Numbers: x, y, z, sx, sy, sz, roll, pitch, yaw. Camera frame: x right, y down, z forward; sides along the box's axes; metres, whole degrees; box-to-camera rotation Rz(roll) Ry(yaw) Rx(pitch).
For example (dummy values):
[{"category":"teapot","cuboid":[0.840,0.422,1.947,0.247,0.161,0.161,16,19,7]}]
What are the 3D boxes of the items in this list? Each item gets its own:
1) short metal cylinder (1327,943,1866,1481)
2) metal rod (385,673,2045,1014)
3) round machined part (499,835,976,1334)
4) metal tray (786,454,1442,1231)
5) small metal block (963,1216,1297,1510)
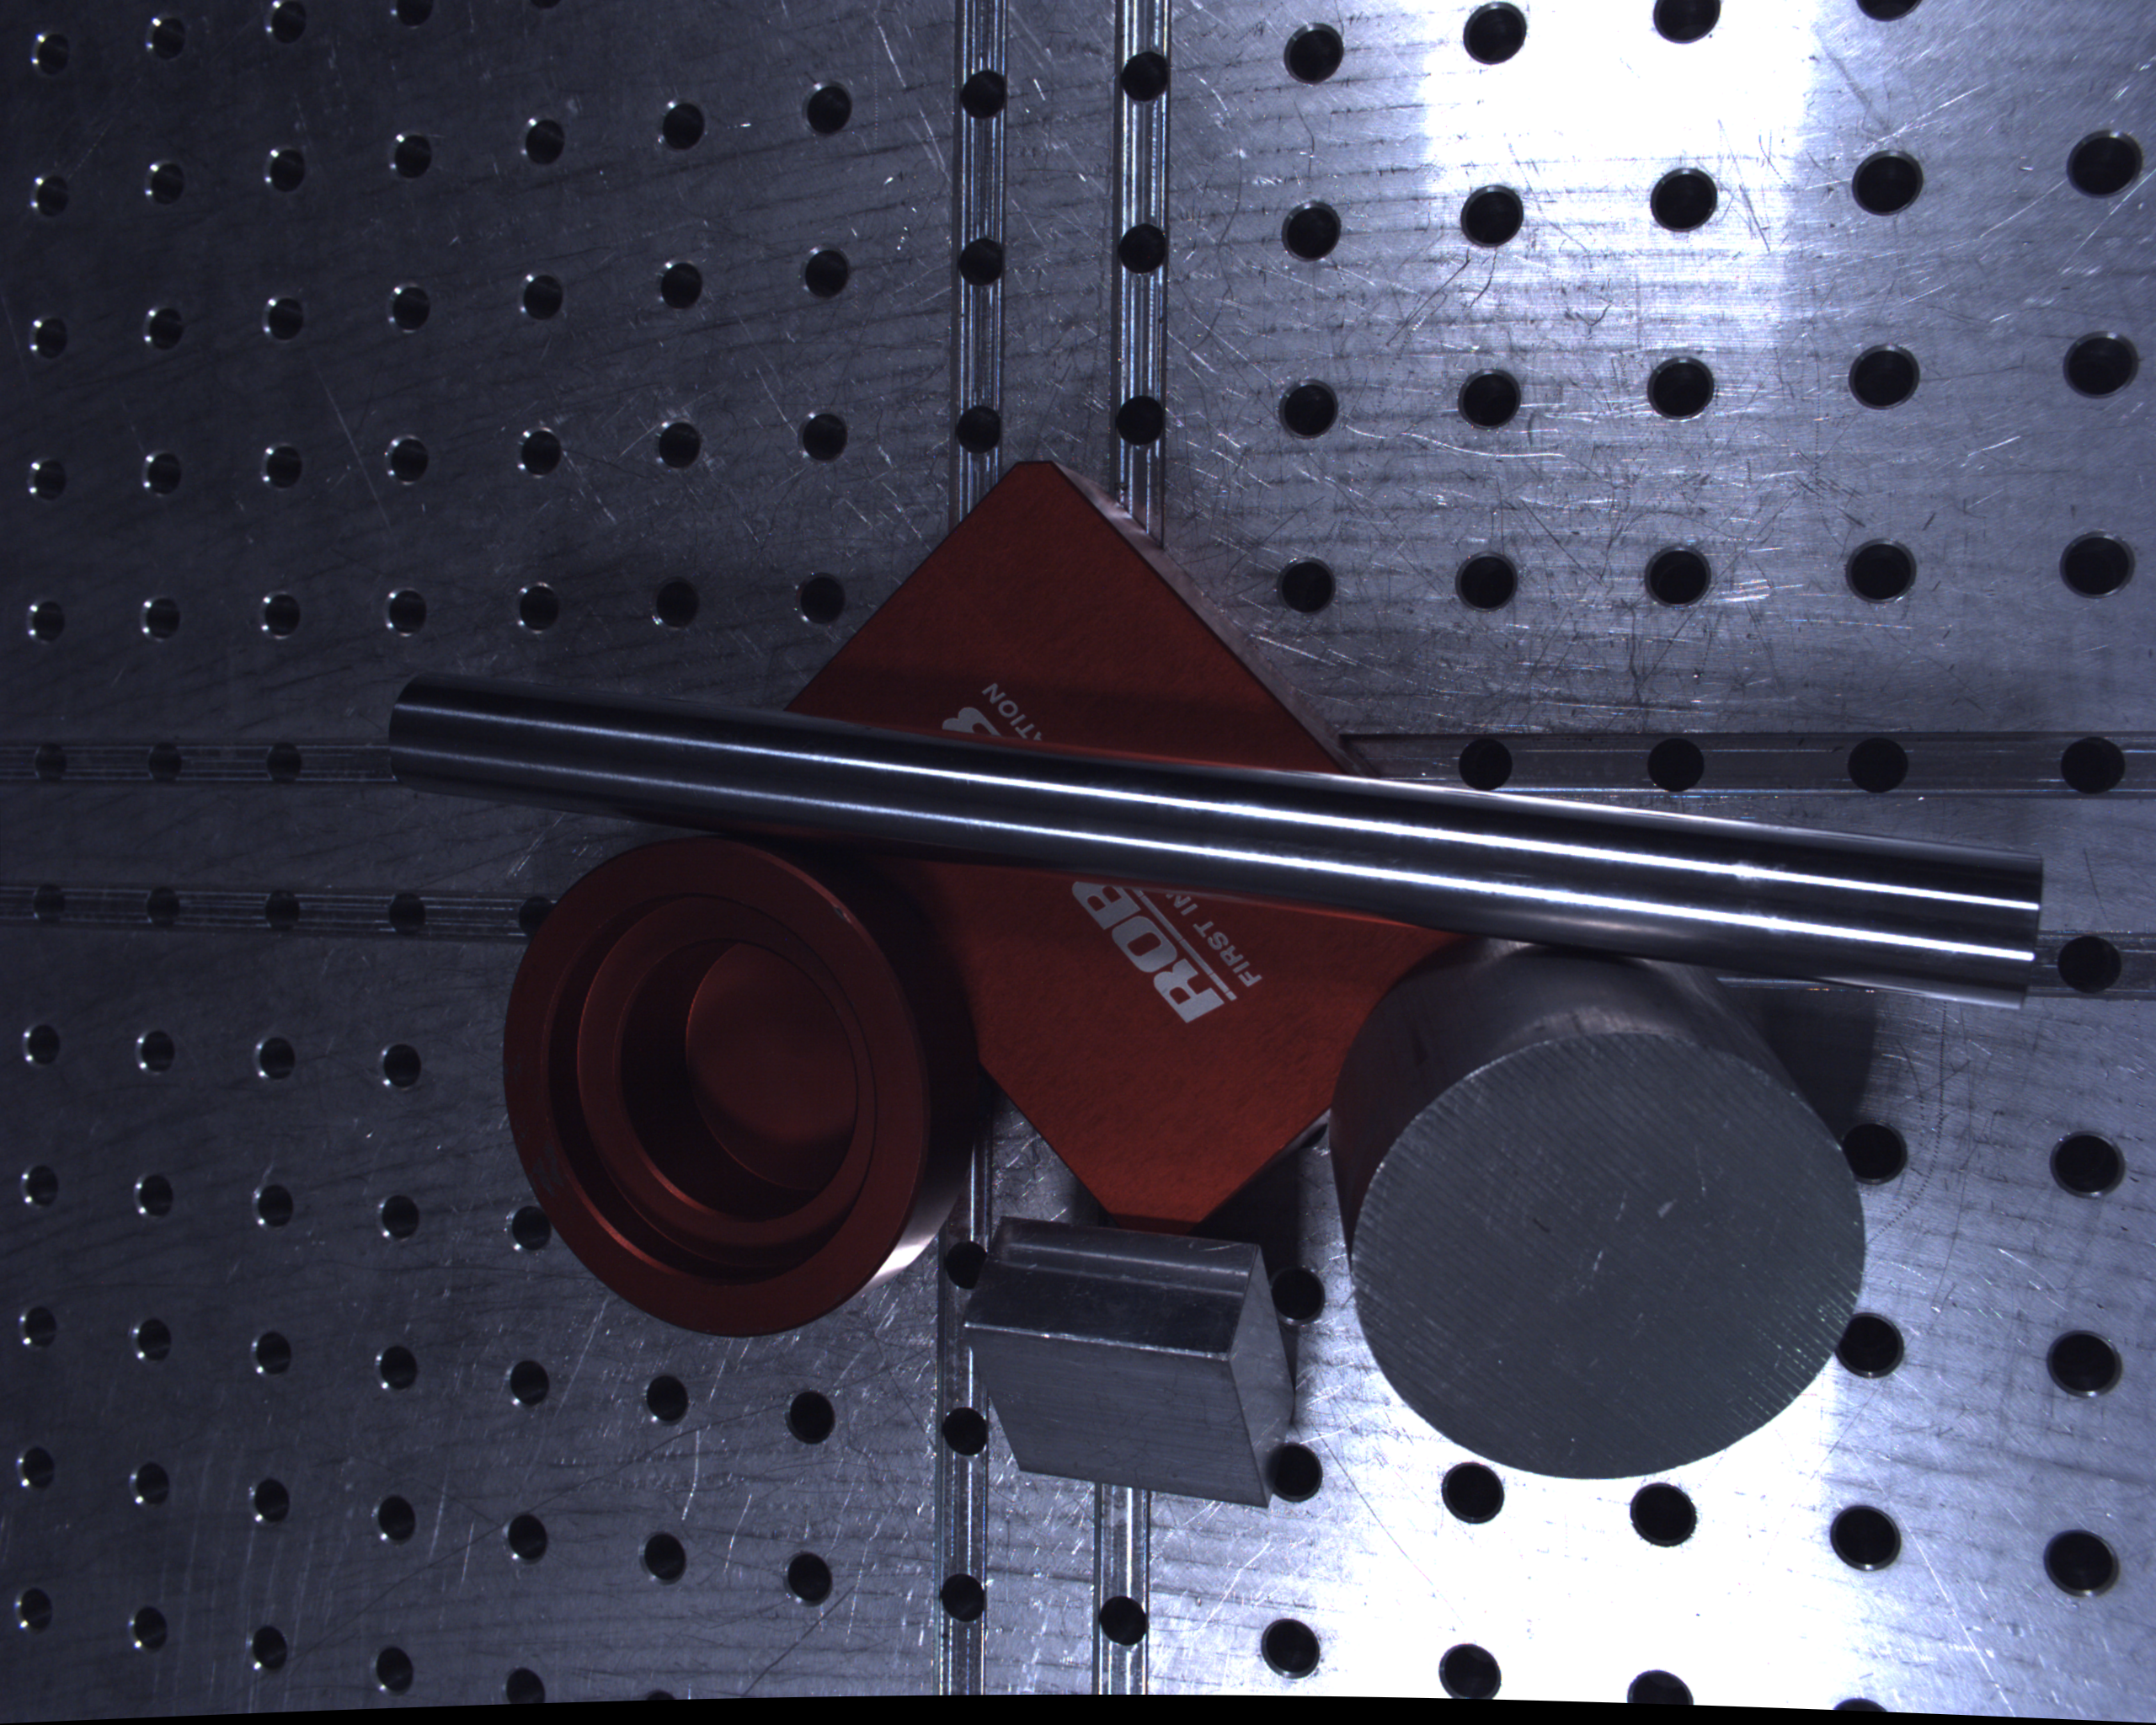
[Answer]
[{"category":"short metal cylinder","cuboid":[0.084,0.056,0.353,0.081,0.050,0.079,0,108,2]},{"category":"metal rod","cuboid":[0.008,-0.007,0.375,0.301,0.025,0.025,8,93,19]},{"category":"round machined part","cuboid":[-0.064,0.041,0.420,0.098,0.042,0.097,3,97,24]},{"category":"metal tray","cuboid":[0.009,-0.004,0.407,0.090,0.030,0.130,-45,77,14]},{"category":"small metal block","cuboid":[0.011,0.094,0.393,0.050,0.025,0.050,3,134,19]}]
